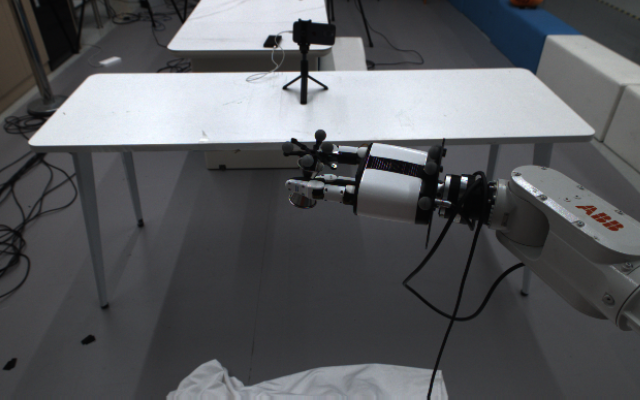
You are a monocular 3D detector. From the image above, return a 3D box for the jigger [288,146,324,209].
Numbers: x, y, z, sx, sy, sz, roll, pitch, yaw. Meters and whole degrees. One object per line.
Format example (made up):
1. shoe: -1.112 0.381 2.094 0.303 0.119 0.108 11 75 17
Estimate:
1. jigger: -0.020 -0.028 0.727 0.043 0.071 0.043 10 36 -7
